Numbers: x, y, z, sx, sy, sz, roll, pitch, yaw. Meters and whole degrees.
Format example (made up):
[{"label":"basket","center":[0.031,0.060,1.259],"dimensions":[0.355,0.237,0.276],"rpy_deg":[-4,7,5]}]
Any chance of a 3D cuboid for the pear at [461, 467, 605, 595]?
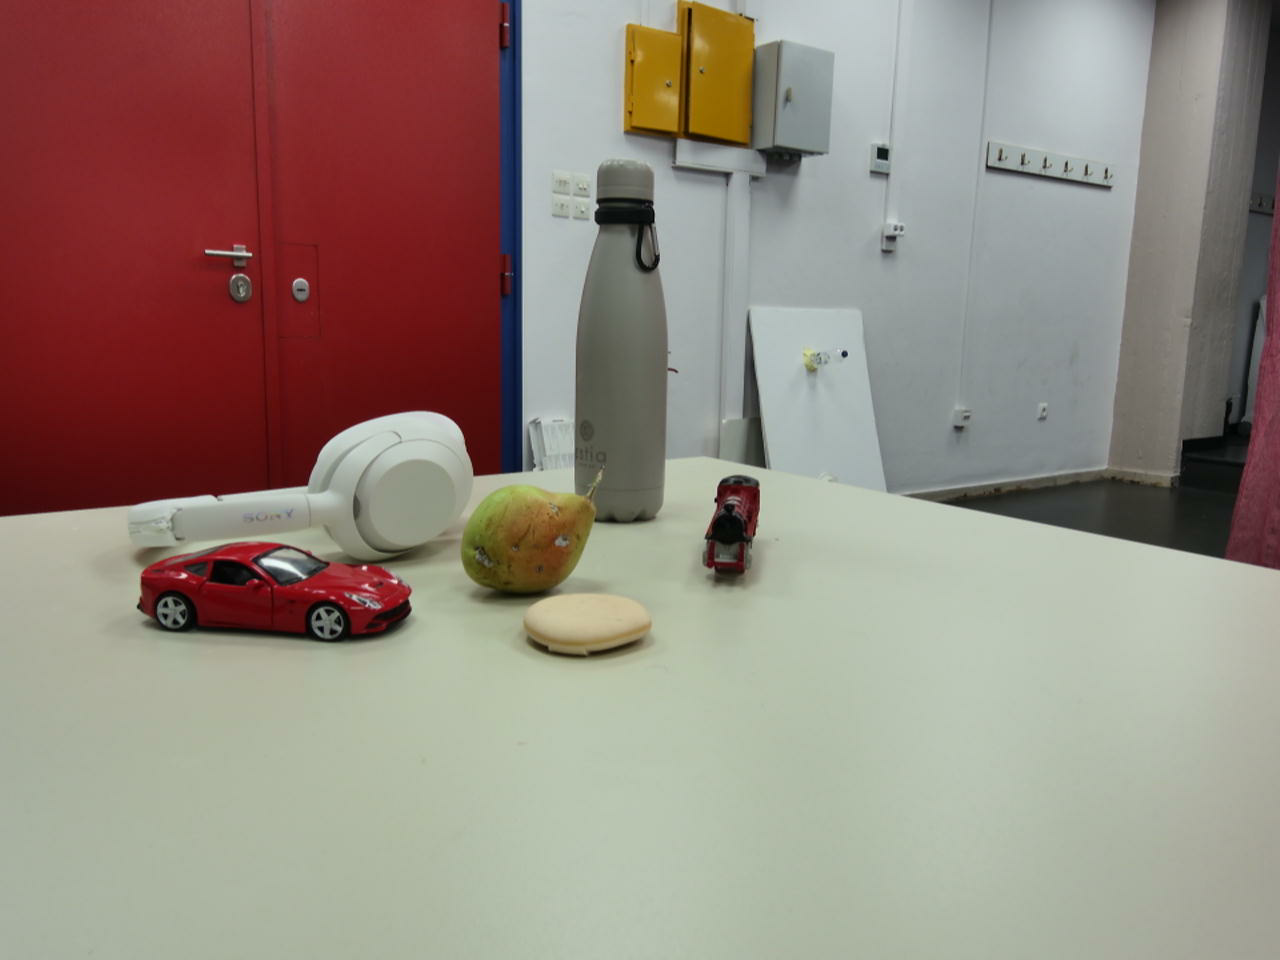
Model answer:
[{"label":"pear","center":[-0.064,0.031,0.573],"dimensions":[0.070,0.069,0.068],"rpy_deg":[3,8,15]}]
